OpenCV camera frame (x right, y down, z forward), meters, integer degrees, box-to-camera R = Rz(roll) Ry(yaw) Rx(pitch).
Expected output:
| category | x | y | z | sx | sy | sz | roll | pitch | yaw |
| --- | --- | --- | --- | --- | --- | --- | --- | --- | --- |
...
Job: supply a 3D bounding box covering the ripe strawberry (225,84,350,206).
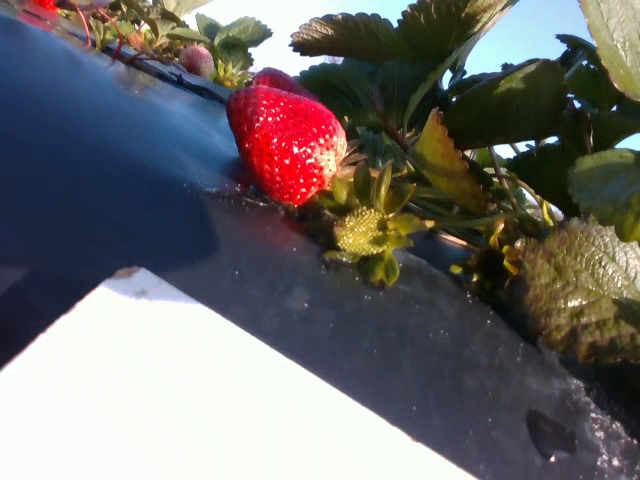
| category | x | y | z | sx | sy | sz | roll | pitch | yaw |
| --- | --- | --- | --- | --- | --- | --- | --- | --- | --- |
| ripe strawberry | -0.012 | -0.038 | 0.215 | 0.038 | 0.043 | 0.053 | -36 | -43 | 18 |
